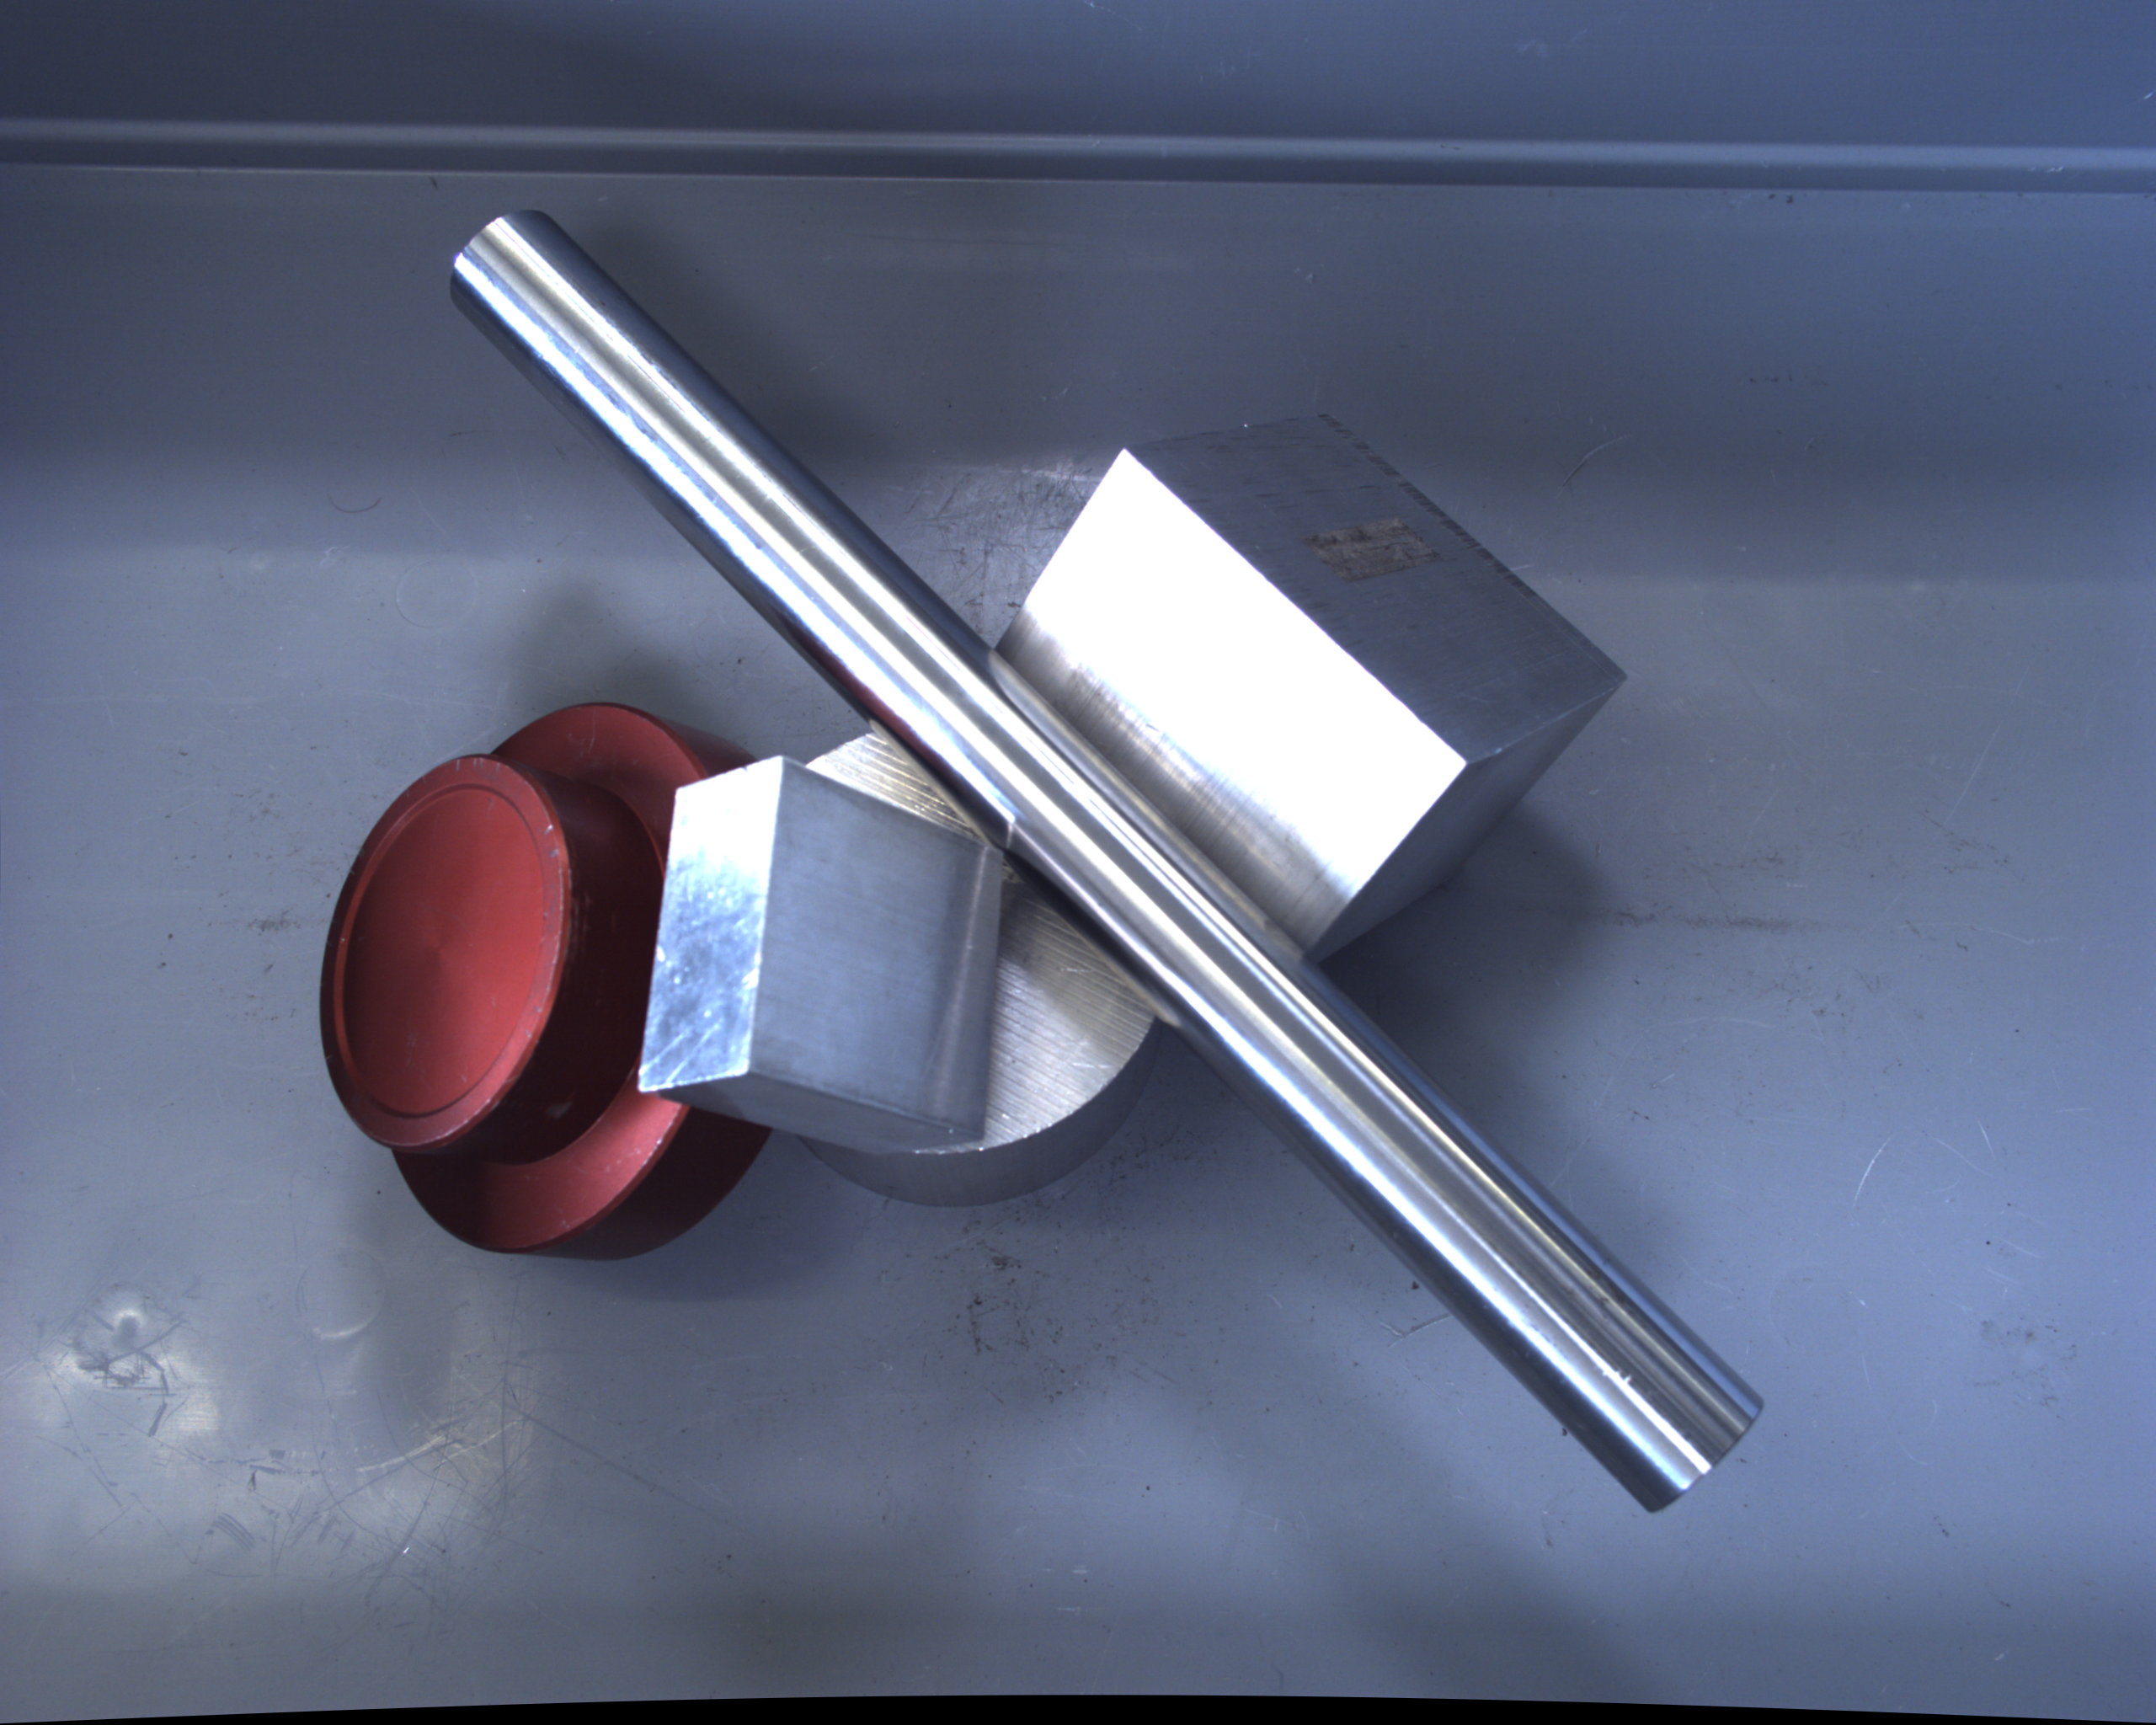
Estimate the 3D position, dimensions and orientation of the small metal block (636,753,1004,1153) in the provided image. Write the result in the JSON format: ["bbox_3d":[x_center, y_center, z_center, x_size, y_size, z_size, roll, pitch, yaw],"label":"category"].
[{"bbox_3d":[-0.040,0.016,0.333,0.025,0.050,0.050,-13,65,38],"label":"small metal block"}]

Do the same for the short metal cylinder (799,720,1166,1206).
[{"bbox_3d":[-0.024,0.020,0.387,0.081,0.050,0.080,0,70,0],"label":"short metal cylinder"}]

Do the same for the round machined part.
[{"bbox_3d":[-0.094,0.019,0.364,0.098,0.042,0.098,-12,70,36],"label":"round machined part"}]

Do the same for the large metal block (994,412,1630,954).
[{"bbox_3d":[0.043,-0.035,0.385,0.080,0.050,0.080,44,33,14],"label":"large metal block"}]

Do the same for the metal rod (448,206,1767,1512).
[{"bbox_3d":[-0.006,-0.011,0.359,0.025,0.025,0.300,-42,75,-14],"label":"metal rod"}]
